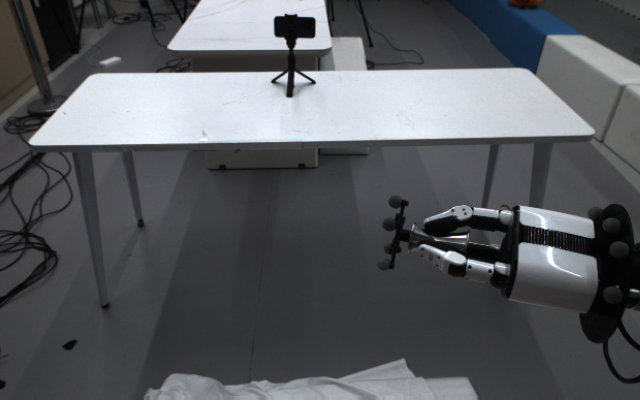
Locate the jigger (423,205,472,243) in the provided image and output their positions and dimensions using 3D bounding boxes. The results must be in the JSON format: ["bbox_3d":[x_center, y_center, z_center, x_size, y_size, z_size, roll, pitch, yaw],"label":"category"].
[{"bbox_3d":[0.153,0.050,0.599,0.071,0.043,0.043,11,36,16],"label":"jigger"}]
